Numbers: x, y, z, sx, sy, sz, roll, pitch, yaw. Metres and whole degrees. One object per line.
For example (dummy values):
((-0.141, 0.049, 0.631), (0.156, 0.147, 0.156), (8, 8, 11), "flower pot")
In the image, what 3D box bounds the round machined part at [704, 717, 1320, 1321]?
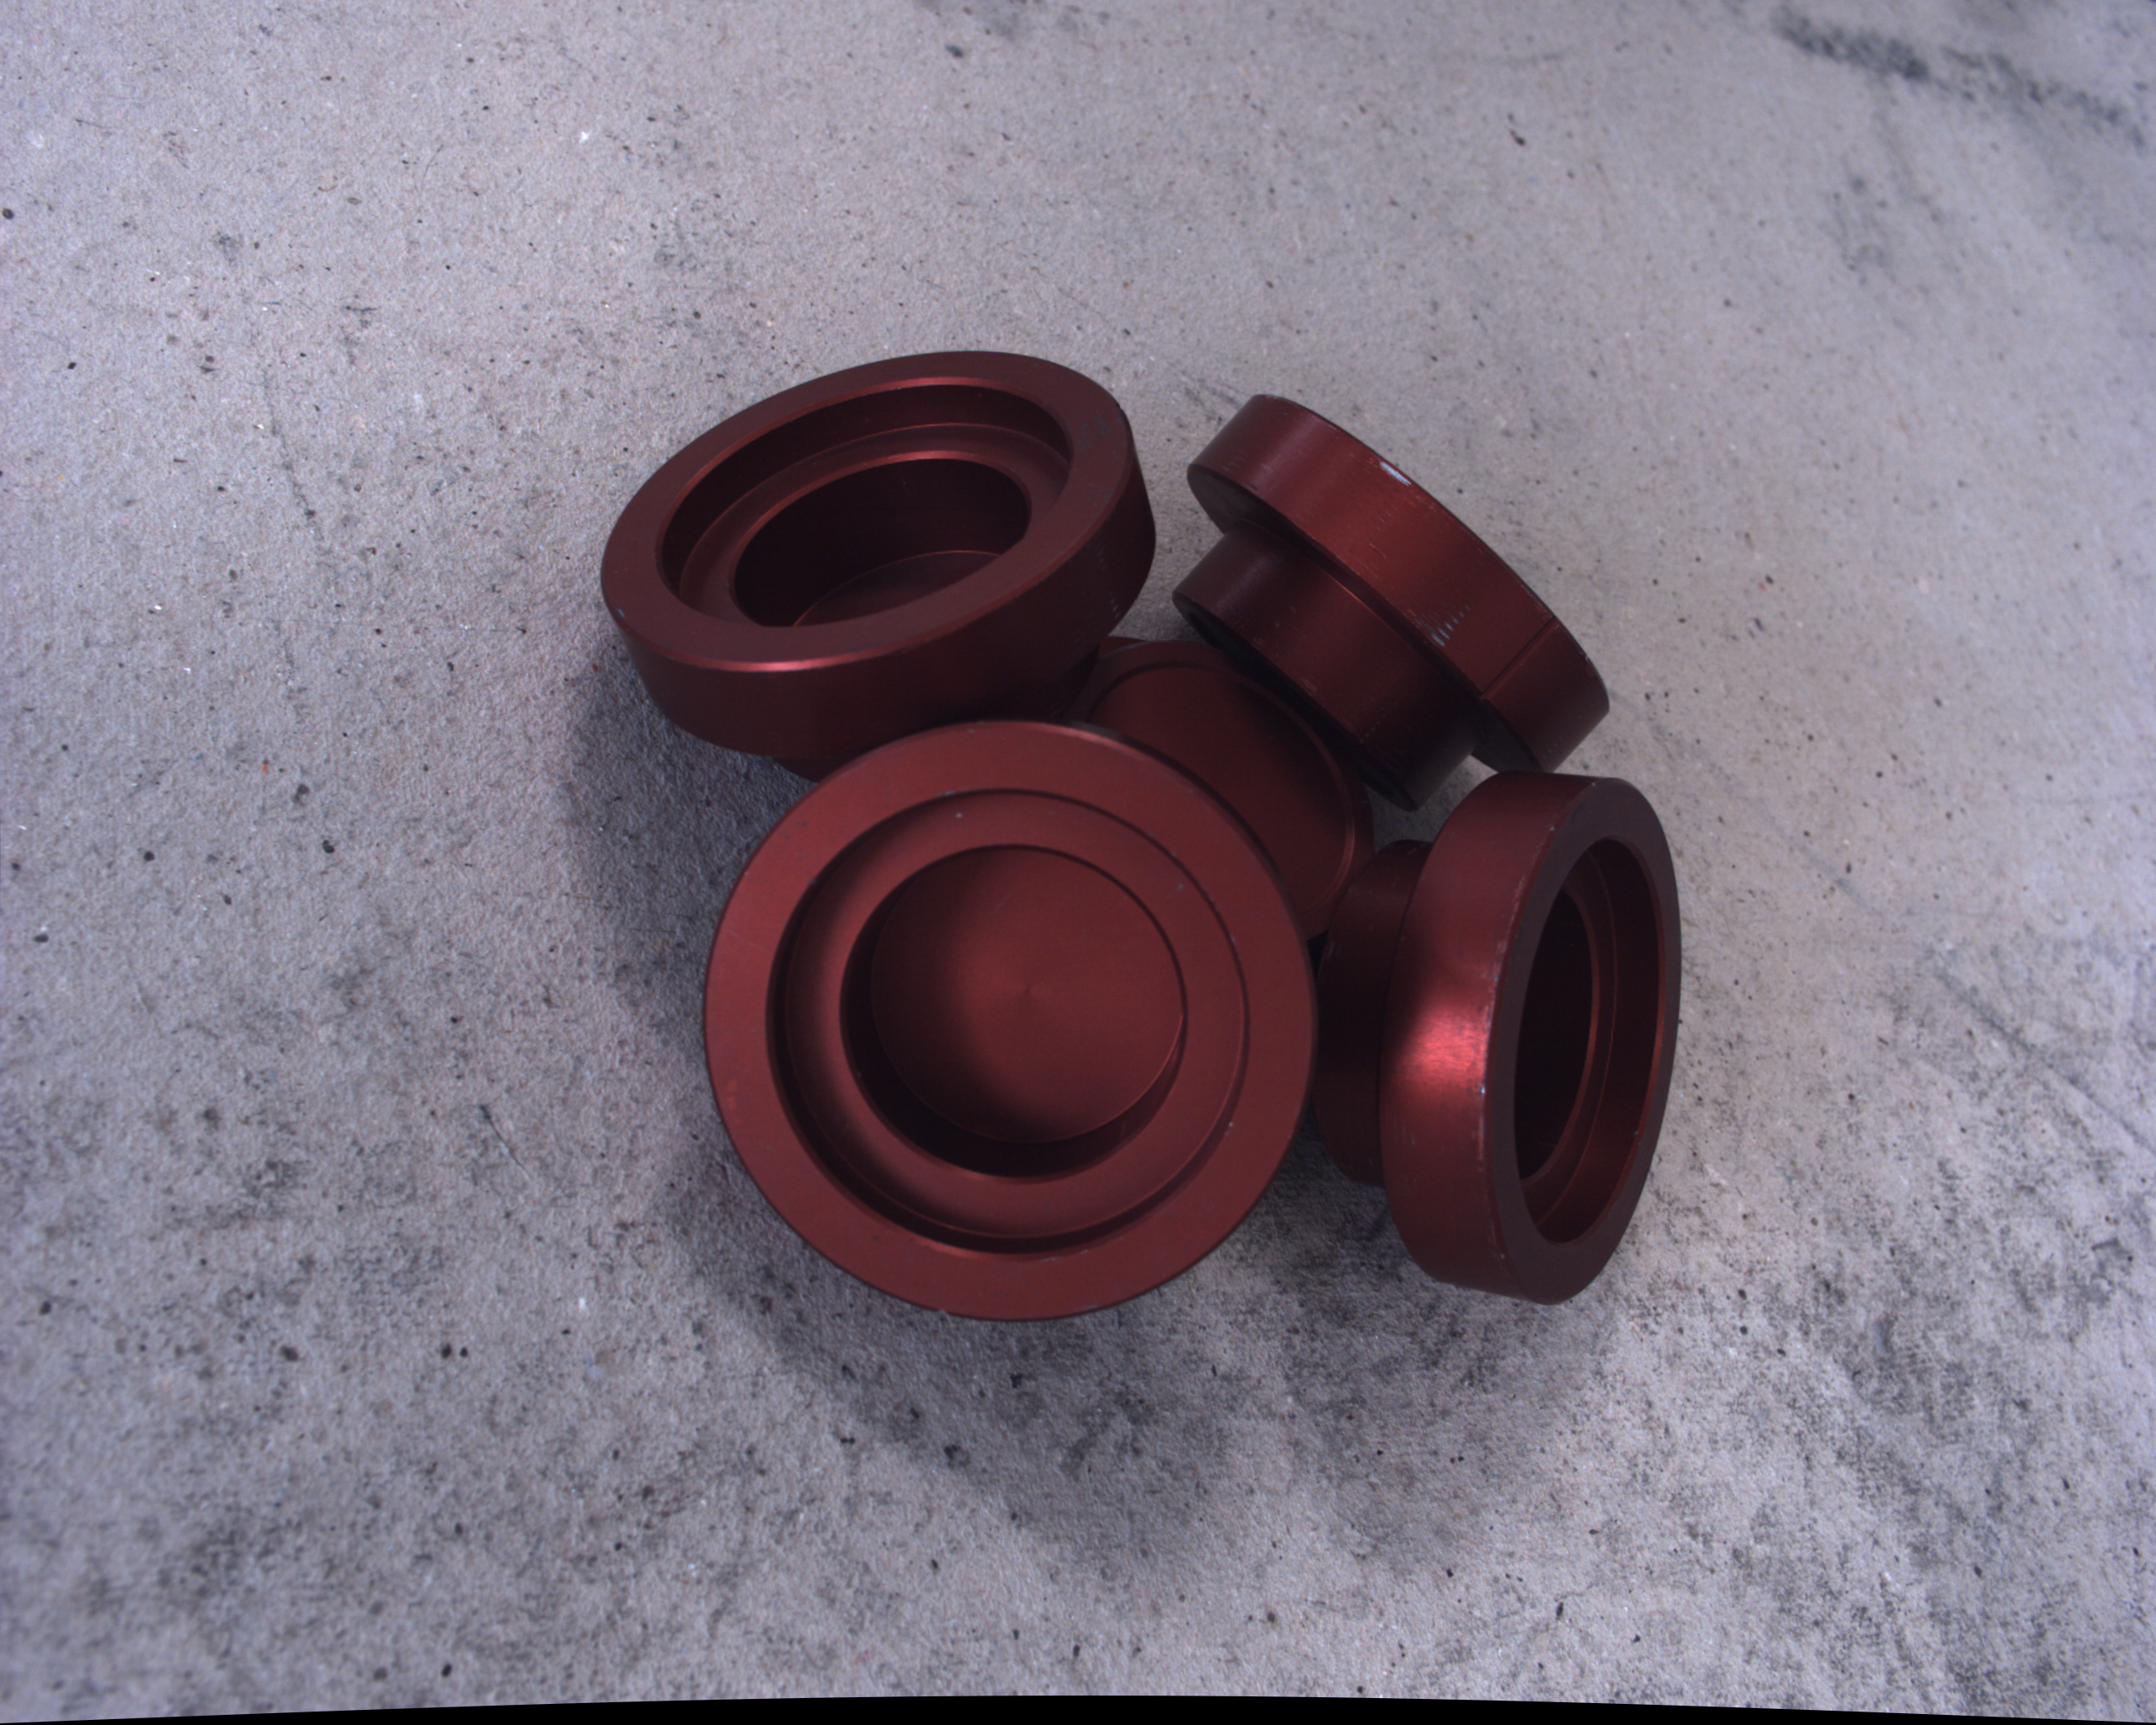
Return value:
((-0.010, 0.024, 0.352), (0.098, 0.098, 0.042), (40, 7, -2), "round machined part")

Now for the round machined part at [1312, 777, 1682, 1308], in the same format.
((0.078, 0.032, 0.396), (0.099, 0.042, 0.097), (-14, 107, -55), "round machined part")

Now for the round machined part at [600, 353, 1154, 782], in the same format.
((-0.034, -0.051, 0.386), (0.098, 0.042, 0.098), (-10, 41, 9), "round machined part")

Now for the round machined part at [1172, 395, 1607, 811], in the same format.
((0.058, -0.048, 0.432), (0.098, 0.098, 0.042), (42, 92, 1), "round machined part")

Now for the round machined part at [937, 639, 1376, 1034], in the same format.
((0.018, -0.004, 0.406), (0.099, 0.042, 0.098), (15, 54, -21), "round machined part")
